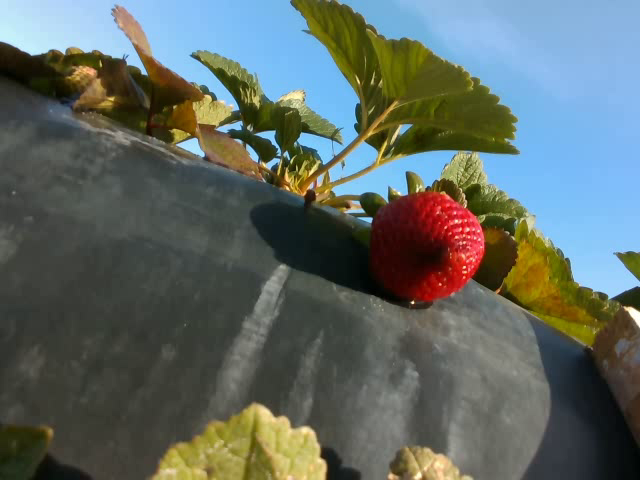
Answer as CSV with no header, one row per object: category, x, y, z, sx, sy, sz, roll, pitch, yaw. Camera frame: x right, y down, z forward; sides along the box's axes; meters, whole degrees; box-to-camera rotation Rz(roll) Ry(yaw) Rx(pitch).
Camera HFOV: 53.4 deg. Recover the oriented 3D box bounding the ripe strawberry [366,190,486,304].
ripe strawberry,0.033,0.002,0.178,0.040,0.037,0.044,22,11,-21
